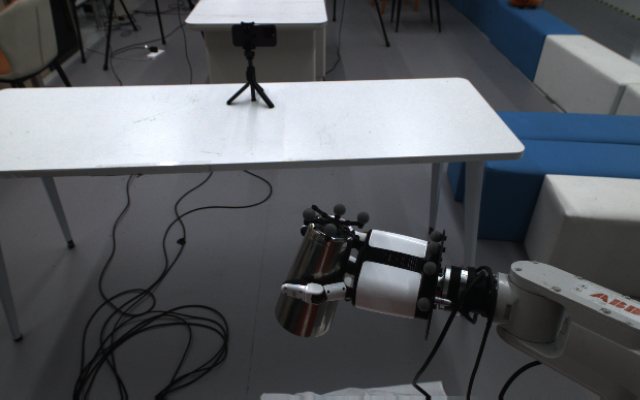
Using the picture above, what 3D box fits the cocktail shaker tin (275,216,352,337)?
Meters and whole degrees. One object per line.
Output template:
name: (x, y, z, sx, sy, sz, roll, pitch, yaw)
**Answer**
cocktail shaker tin: (-0.001, 0.106, 0.712, 0.093, 0.170, 0.093, 12, 29, -7)
